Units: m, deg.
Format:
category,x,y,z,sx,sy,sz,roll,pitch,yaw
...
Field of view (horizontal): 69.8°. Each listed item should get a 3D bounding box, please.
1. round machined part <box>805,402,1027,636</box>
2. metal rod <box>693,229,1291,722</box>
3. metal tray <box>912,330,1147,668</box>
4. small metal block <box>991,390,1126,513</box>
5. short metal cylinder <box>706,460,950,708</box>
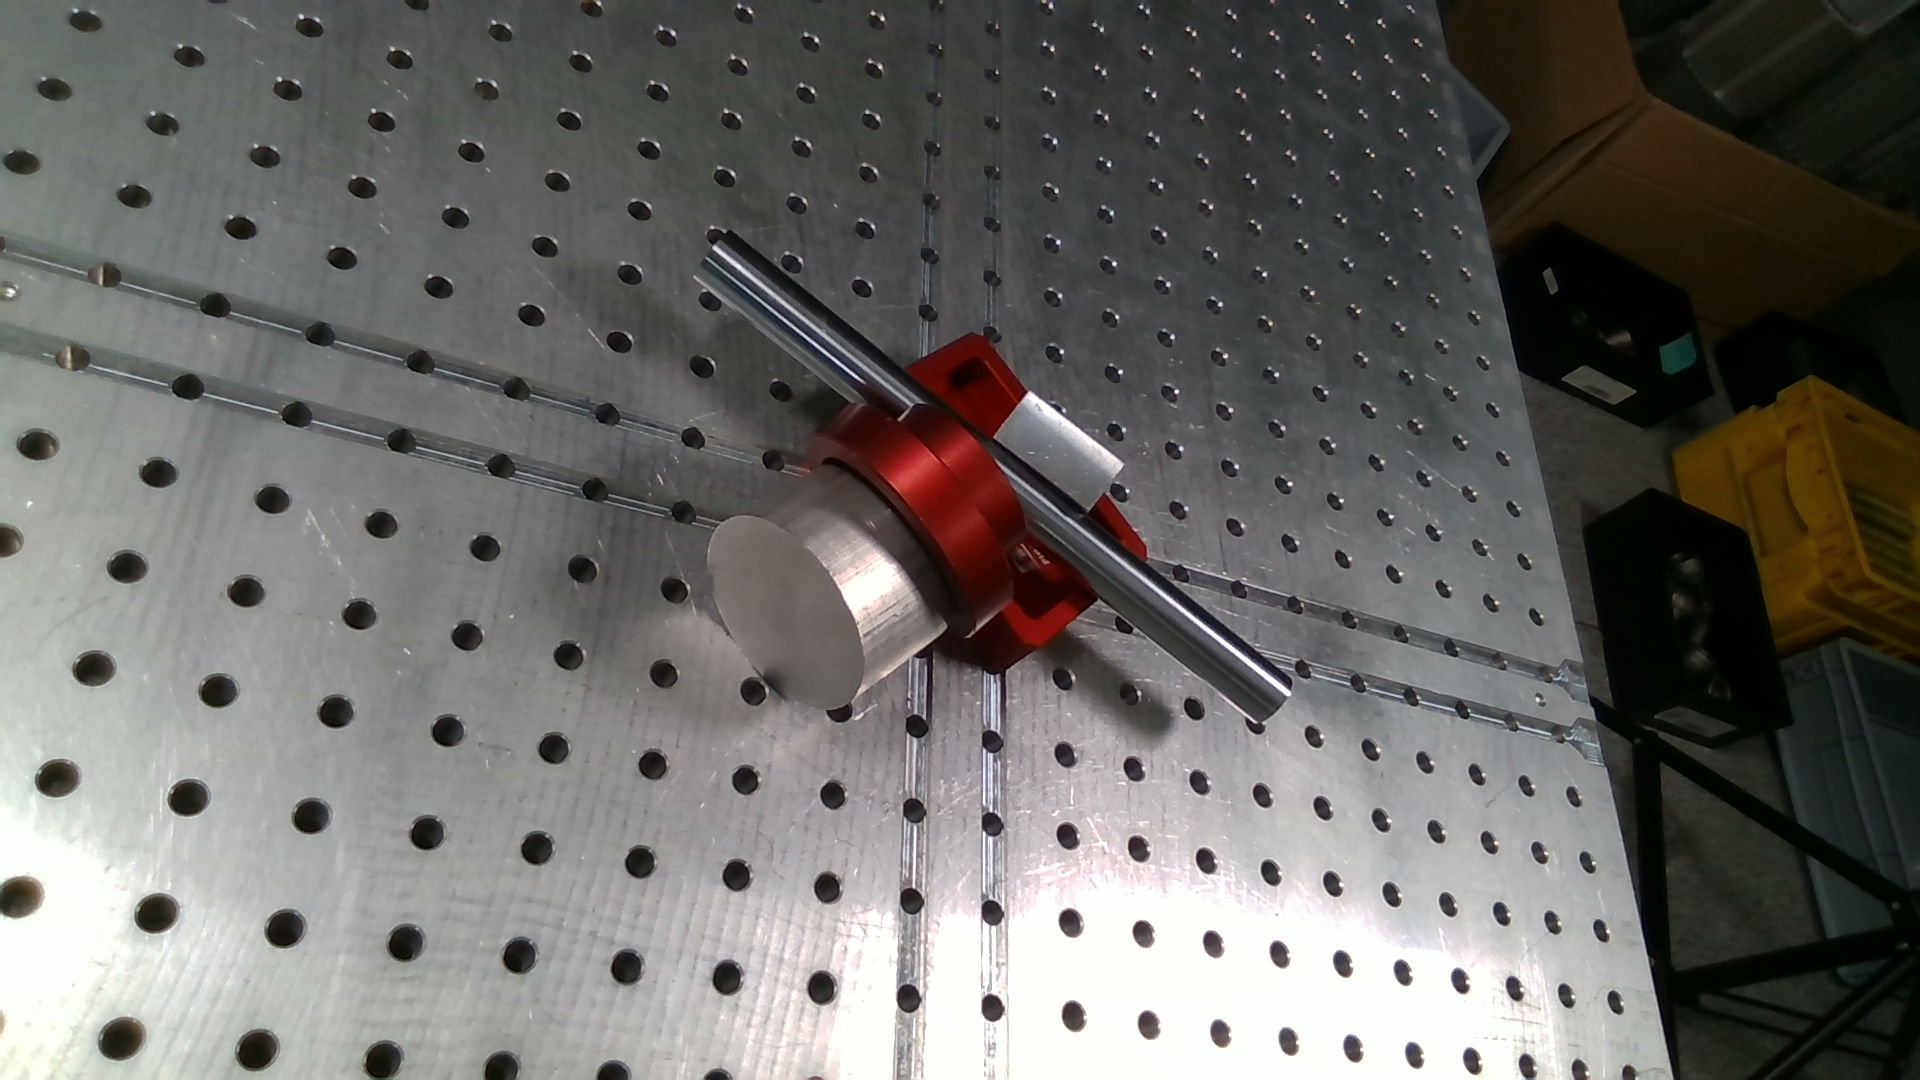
category,x,y,z,sx,sy,sz,roll,pitch,yaw
round machined part,-0.012,-0.014,0.528,0.042,0.098,0.098,-39,89,-17
metal rod,0.018,-0.023,0.573,0.300,0.025,0.025,38,52,-9
metal tray,0.012,-0.020,0.603,0.090,0.030,0.130,-35,86,-39
small metal block,0.041,-0.035,0.589,0.050,0.050,0.025,38,89,3
short metal cylinder,-0.049,0.015,0.514,0.050,0.080,0.080,-35,86,-39
